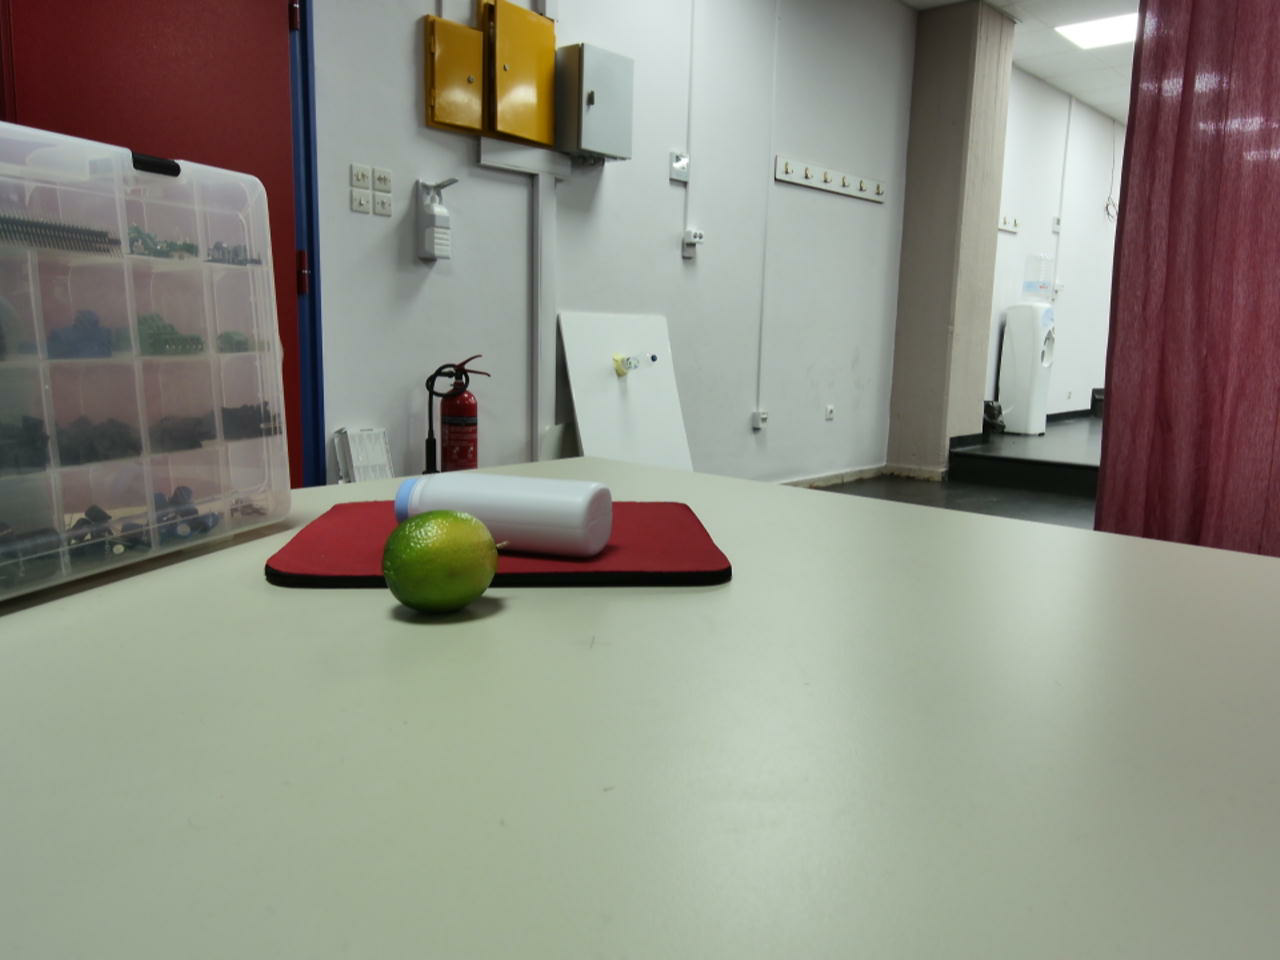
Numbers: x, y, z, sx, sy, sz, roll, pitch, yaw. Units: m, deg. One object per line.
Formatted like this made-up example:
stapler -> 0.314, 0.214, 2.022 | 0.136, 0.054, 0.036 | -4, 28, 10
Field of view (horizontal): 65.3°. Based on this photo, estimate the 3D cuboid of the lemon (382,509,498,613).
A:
lemon -> -0.099, 0.040, 0.496 | 0.055, 0.050, 0.054 | 1, 7, 2
